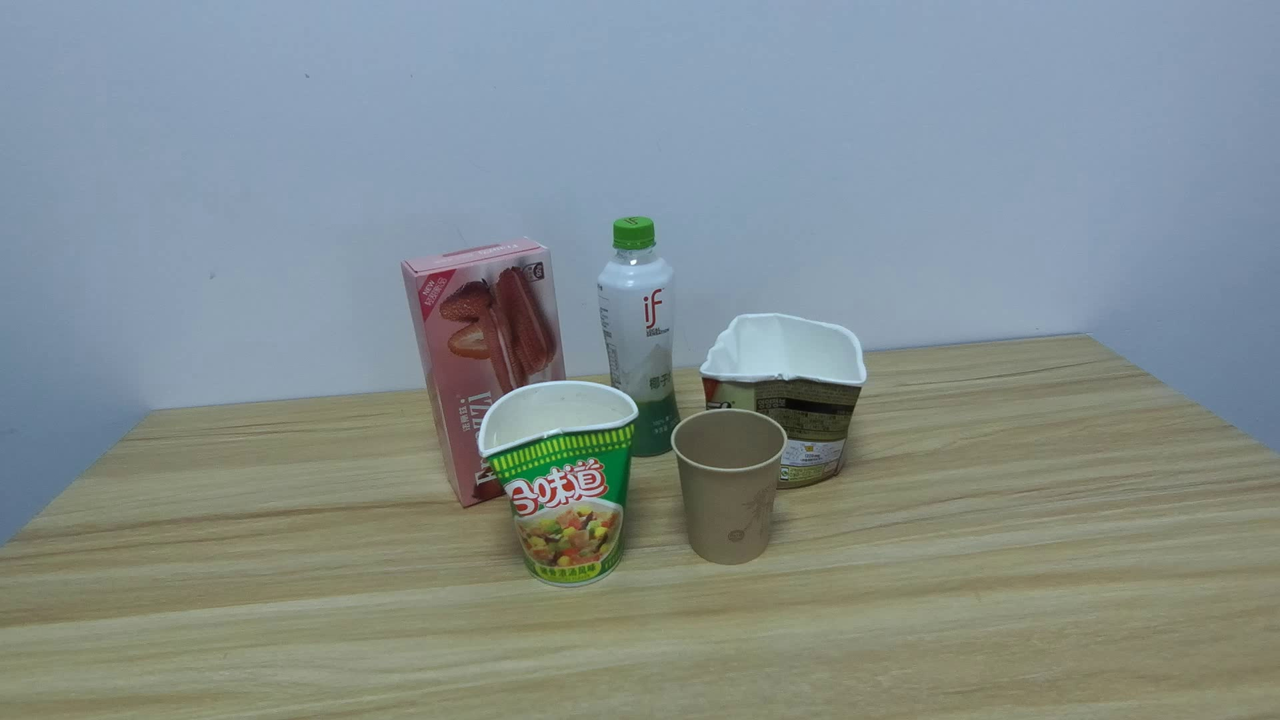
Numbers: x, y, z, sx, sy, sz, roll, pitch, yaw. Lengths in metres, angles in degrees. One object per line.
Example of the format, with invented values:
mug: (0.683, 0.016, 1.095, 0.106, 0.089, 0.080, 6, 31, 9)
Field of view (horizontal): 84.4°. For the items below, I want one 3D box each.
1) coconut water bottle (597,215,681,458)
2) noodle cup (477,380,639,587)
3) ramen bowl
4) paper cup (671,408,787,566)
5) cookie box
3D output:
coconut water bottle: (0.000, -0.017, 0.565, 0.063, 0.189, 0.063, -3, 24, 2)
noodle cup: (-0.046, 0.081, 0.462, 0.094, 0.109, 0.087, -1, 26, 4)
ramen bowl: (0.109, 0.025, 0.567, 0.113, 0.097, 0.133, -1, 27, 7)
paper cup: (0.058, 0.086, 0.465, 0.075, 0.082, 0.075, -3, 26, 2)
cookie box: (-0.108, 0.010, 0.535, 0.096, 0.185, 0.048, -16, 26, -24)
